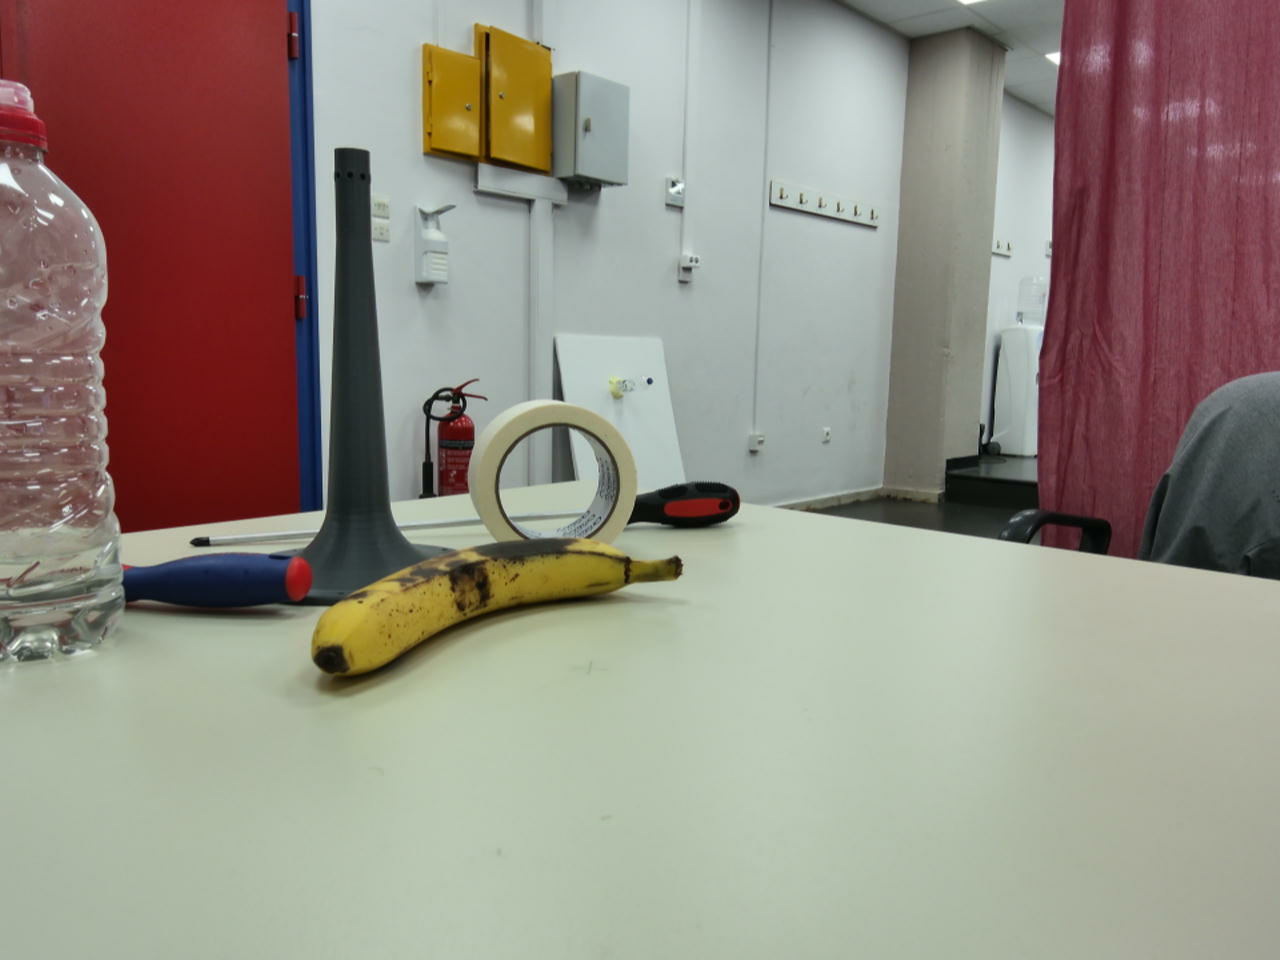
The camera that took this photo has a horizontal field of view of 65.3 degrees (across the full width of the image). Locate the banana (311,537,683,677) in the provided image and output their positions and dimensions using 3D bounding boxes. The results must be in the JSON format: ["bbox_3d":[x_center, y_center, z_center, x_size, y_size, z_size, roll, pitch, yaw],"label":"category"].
[{"bbox_3d":[-0.079,0.056,0.505,0.084,0.037,0.222,5,8,41],"label":"banana"}]
